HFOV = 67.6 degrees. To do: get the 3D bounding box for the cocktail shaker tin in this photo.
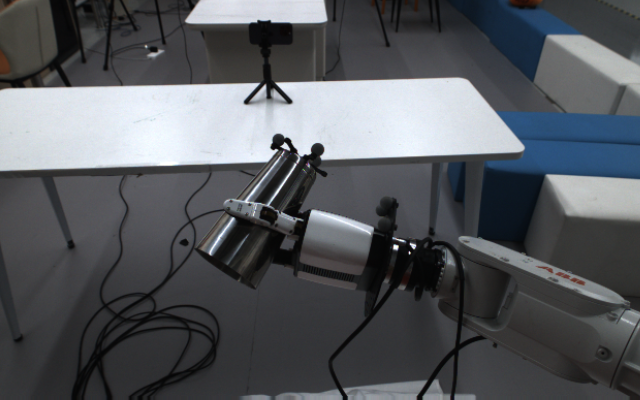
[{"bbox_3d":[-0.077,0.017,0.631,0.093,0.093,0.170,22,67,26],"label":"cocktail shaker tin"}]
